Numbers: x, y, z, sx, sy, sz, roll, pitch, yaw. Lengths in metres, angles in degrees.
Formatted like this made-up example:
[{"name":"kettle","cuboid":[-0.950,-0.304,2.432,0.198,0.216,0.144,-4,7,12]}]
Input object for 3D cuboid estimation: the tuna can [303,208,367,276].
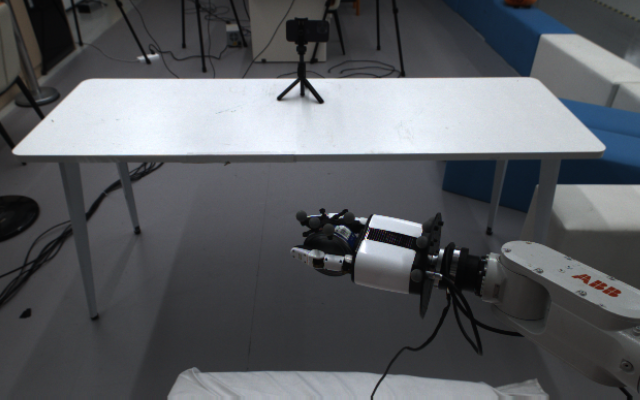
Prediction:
[{"name":"tuna can","cuboid":[0.021,0.077,0.761,0.085,0.085,0.034,15,34,17]}]
